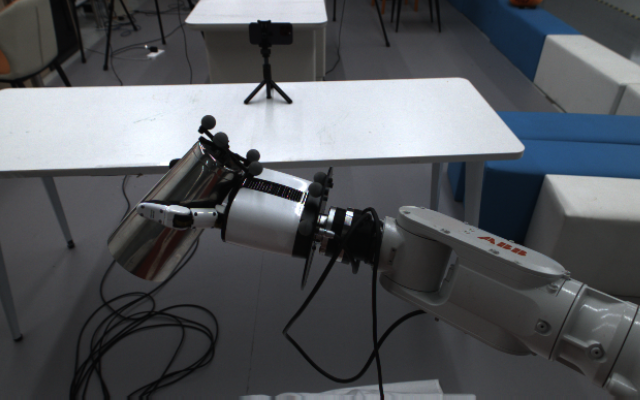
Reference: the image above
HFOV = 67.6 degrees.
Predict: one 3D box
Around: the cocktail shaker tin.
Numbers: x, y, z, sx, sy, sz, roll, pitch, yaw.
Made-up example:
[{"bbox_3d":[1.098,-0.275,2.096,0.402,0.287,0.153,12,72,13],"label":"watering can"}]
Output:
[{"bbox_3d":[-0.174,0.007,0.603,0.093,0.170,0.093,41,13,-11],"label":"cocktail shaker tin"}]
